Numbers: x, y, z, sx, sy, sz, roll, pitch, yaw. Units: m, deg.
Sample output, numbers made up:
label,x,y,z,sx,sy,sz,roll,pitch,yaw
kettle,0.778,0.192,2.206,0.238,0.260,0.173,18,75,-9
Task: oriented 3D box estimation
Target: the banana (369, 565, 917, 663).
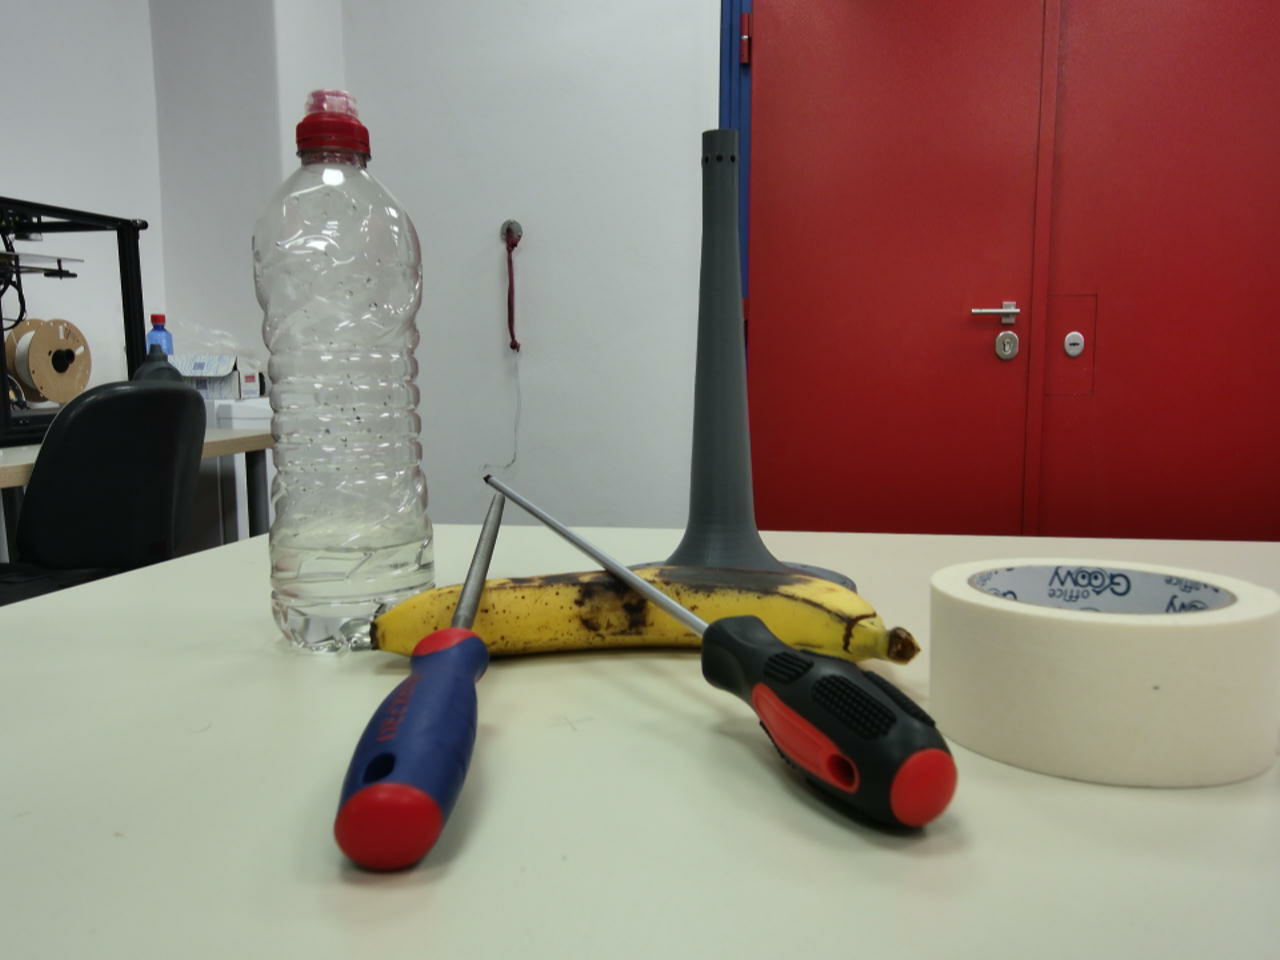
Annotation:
label,x,y,z,sx,sy,sz,roll,pitch,yaw
banana,0.002,0.059,0.431,0.222,0.037,0.084,1,4,13
